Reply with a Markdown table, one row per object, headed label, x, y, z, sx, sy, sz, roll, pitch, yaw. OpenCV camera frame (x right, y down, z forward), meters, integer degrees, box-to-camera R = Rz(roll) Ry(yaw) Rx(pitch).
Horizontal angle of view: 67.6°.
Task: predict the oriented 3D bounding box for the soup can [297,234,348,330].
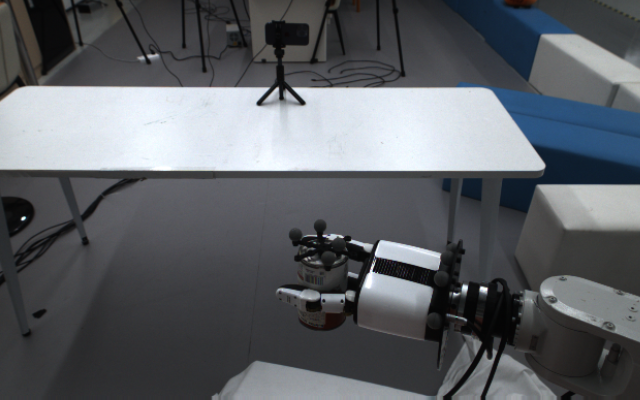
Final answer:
| label | x | y | z | sx | sy | sz | roll | pitch | yaw |
| --- | --- | --- | --- | --- | --- | --- | --- | --- | --- |
| soup can | 0.005 | 0.112 | 0.639 | 0.067 | 0.101 | 0.067 | 1 | 26 | 0 |
